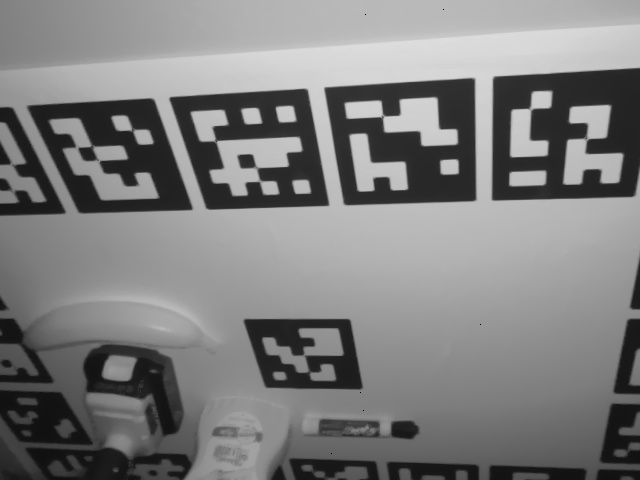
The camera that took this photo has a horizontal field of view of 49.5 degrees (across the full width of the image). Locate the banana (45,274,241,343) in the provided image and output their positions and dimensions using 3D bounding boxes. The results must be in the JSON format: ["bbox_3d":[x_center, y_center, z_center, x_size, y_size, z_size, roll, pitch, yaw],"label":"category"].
[{"bbox_3d":[-0.177,0.065,0.678,0.197,0.039,0.073,4,125,4],"label":"banana"}]

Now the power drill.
[{"bbox_3d":[-0.189,0.192,0.652,0.057,0.189,0.182,10,129,5],"label":"power drill"}]

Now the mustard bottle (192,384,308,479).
[{"bbox_3d":[-0.074,0.231,0.683,0.096,0.194,0.058,8,127,6],"label":"mustard bottle"}]

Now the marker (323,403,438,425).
[{"bbox_3d":[0.064,0.185,0.736,0.120,0.020,0.019,0,125,9],"label":"marker"}]
